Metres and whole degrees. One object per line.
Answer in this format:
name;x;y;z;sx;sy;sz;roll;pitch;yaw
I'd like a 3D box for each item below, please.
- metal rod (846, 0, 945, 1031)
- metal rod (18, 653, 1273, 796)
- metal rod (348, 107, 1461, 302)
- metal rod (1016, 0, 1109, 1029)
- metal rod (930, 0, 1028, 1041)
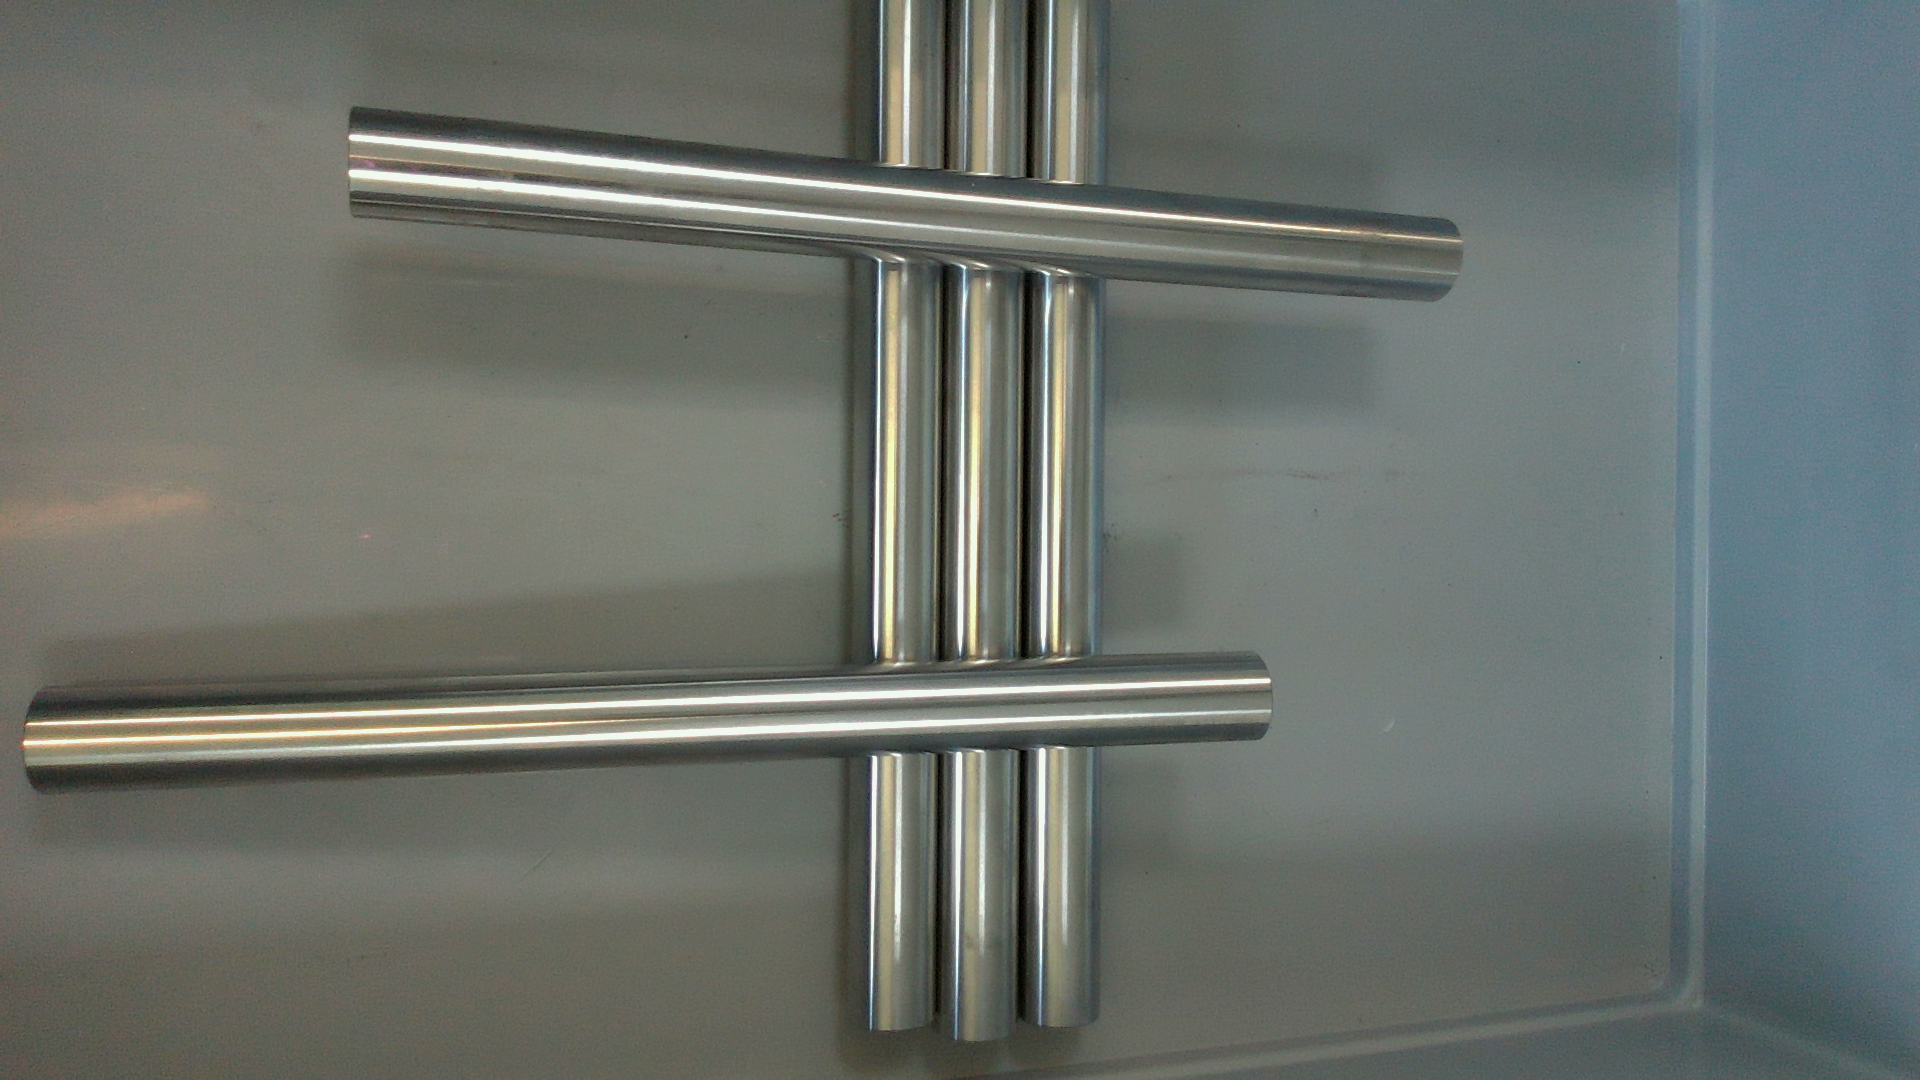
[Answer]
metal rod;-0.018;-0.017;0.387;0.025;0.025;0.300;1;90;-20
metal rod;-0.065;0.045;0.350;0.301;0.025;0.025;0;90;-13
metal rod;0.002;-0.085;0.366;0.301;0.025;0.025;0;90;-20
metal rod;0.029;-0.011;0.403;0.025;0.025;0.300;1;90;-20
metal rod;0.005;-0.011;0.395;0.025;0.025;0.300;1;90;-20
